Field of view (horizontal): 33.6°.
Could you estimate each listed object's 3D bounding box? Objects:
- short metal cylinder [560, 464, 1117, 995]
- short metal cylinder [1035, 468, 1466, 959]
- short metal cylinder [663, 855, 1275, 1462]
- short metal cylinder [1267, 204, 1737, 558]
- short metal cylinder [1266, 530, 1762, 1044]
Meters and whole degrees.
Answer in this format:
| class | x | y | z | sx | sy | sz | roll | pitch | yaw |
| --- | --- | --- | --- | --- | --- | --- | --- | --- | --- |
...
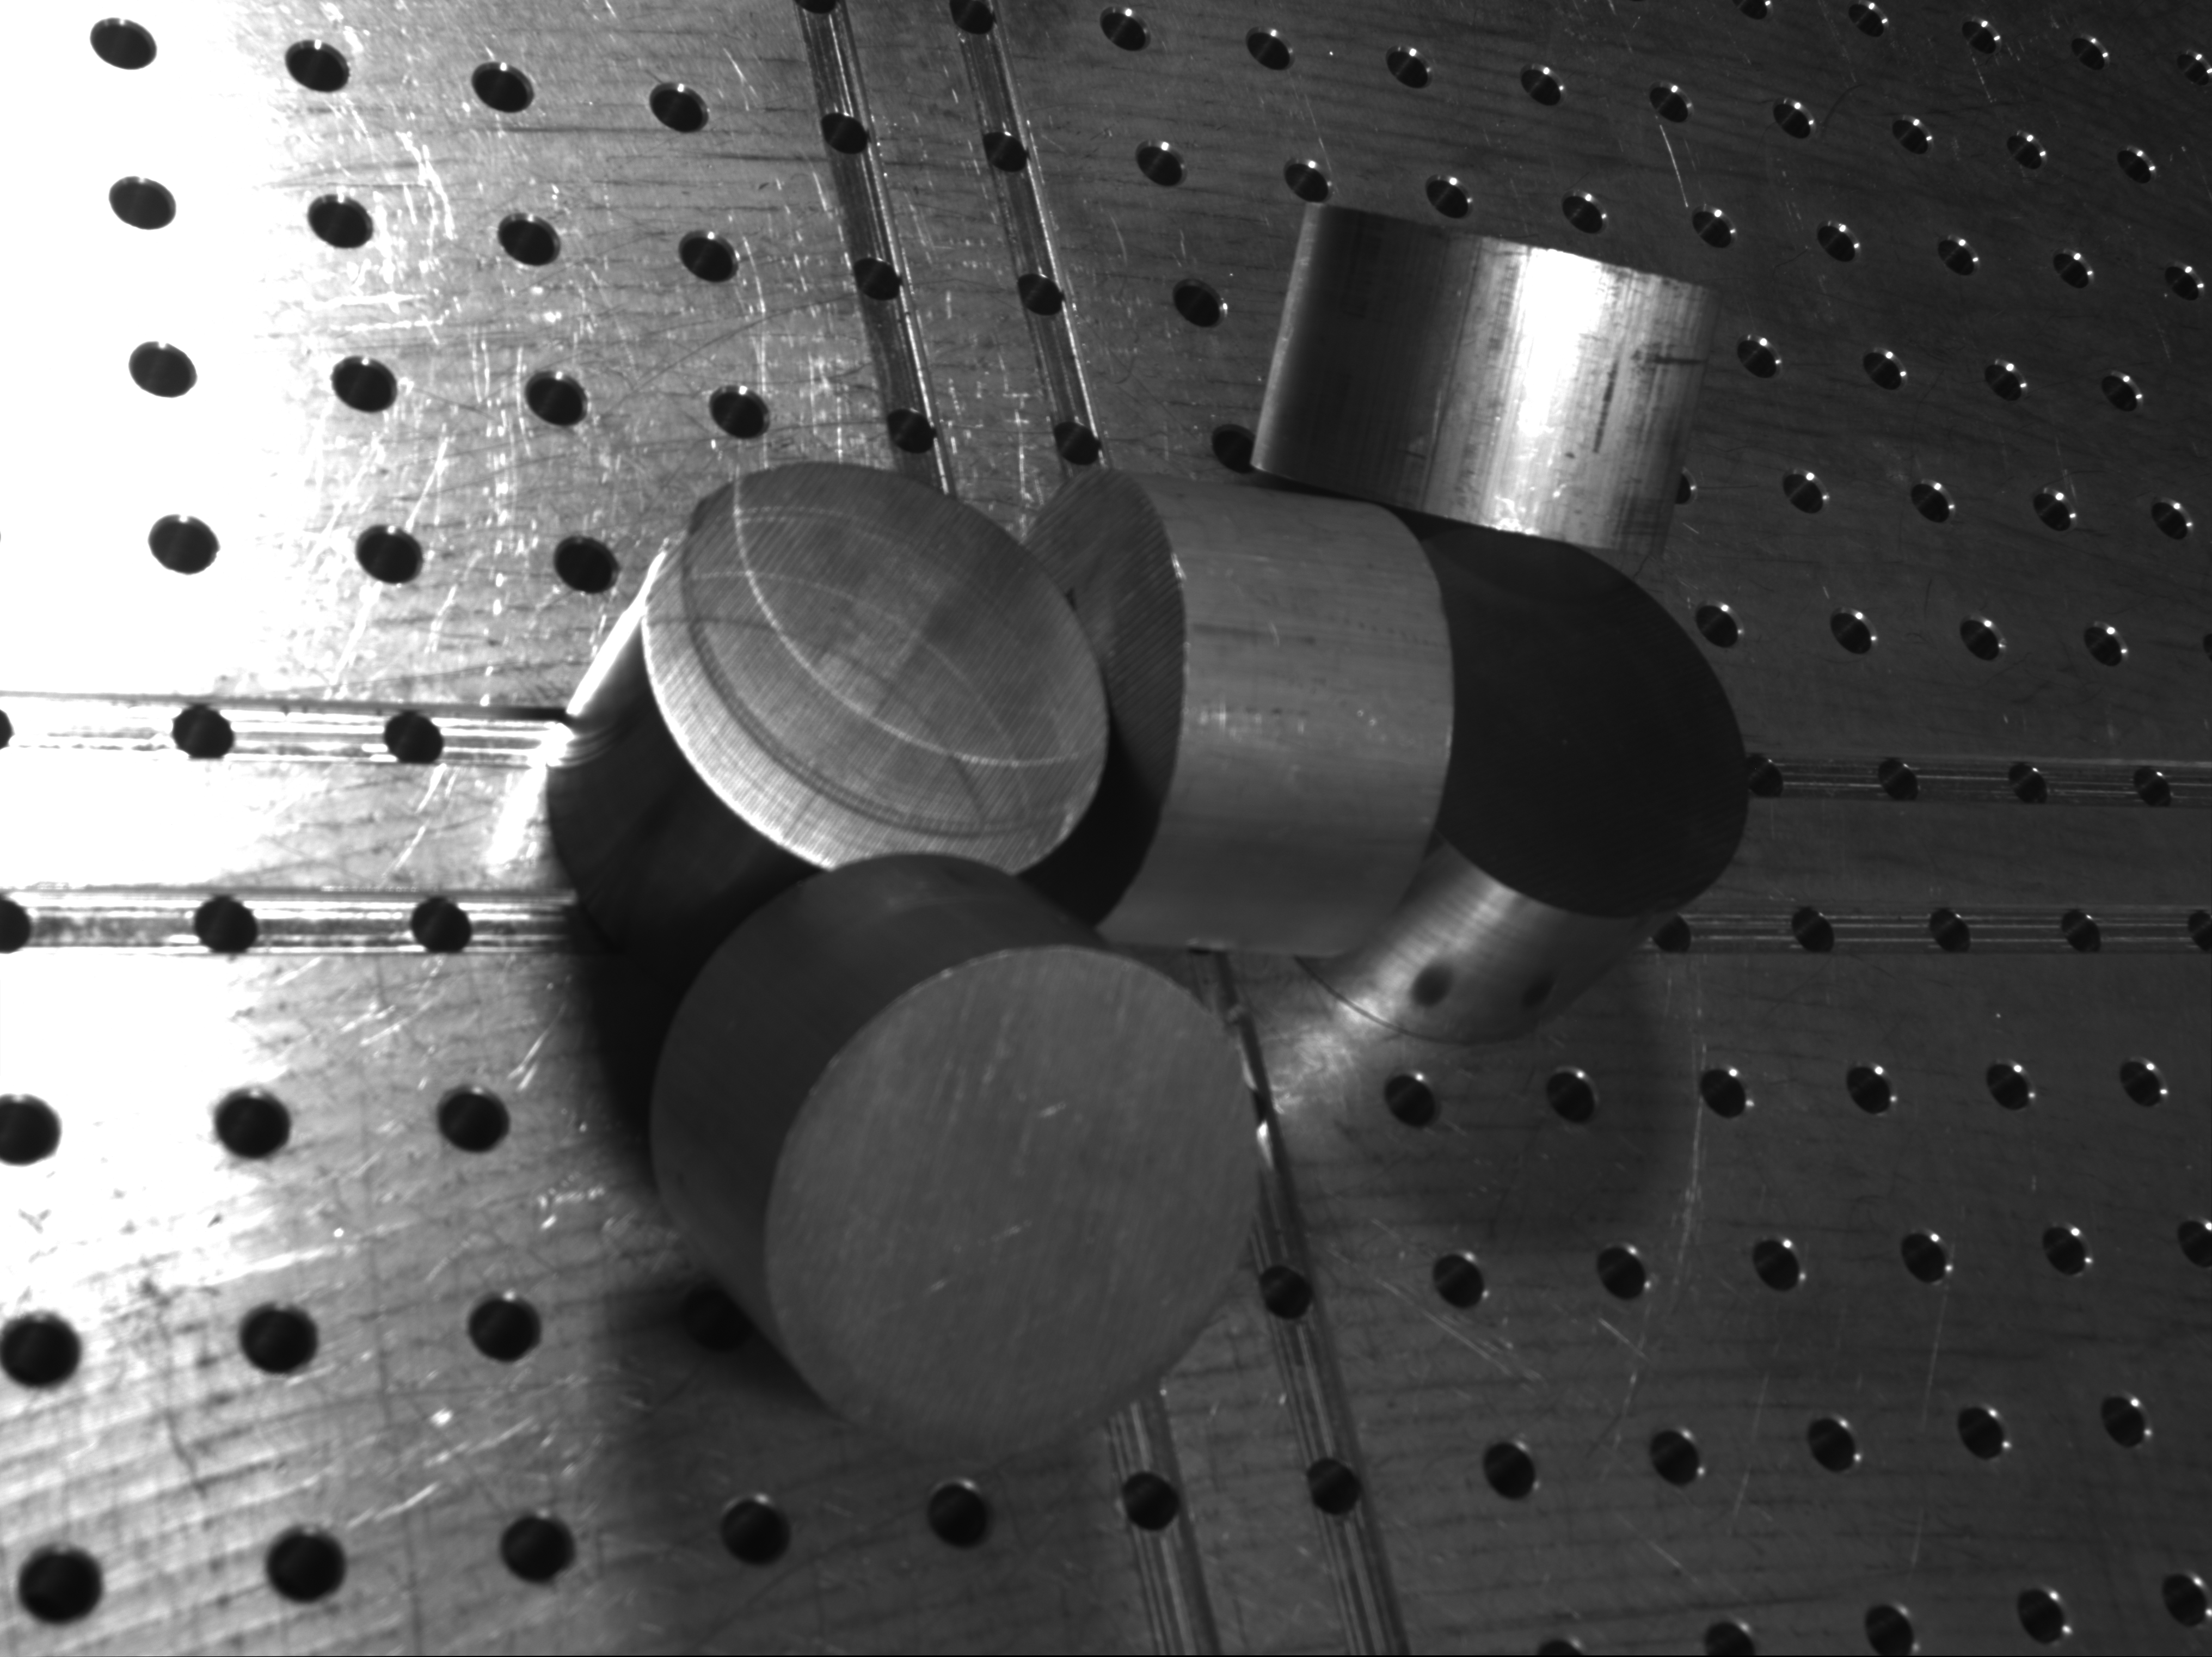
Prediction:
| class | x | y | z | sx | sy | sz | roll | pitch | yaw |
| --- | --- | --- | --- | --- | --- | --- | --- | --- | --- |
| short metal cylinder | -0.045 | -0.013 | 0.610 | 0.080 | 0.050 | 0.080 | 14 | 56 | -21 |
| short metal cylinder | 0.020 | -0.019 | 0.630 | 0.050 | 0.080 | 0.080 | 5 | 59 | -26 |
| short metal cylinder | -0.021 | 0.049 | 0.559 | 0.080 | 0.050 | 0.080 | -8 | 109 | -24 |
| short metal cylinder | 0.074 | -0.084 | 0.690 | 0.080 | 0.080 | 0.050 | 8 | 100 | -24 |
| short metal cylinder | 0.072 | -0.008 | 0.669 | 0.080 | 0.050 | 0.080 | 14 | 56 | -21 |
